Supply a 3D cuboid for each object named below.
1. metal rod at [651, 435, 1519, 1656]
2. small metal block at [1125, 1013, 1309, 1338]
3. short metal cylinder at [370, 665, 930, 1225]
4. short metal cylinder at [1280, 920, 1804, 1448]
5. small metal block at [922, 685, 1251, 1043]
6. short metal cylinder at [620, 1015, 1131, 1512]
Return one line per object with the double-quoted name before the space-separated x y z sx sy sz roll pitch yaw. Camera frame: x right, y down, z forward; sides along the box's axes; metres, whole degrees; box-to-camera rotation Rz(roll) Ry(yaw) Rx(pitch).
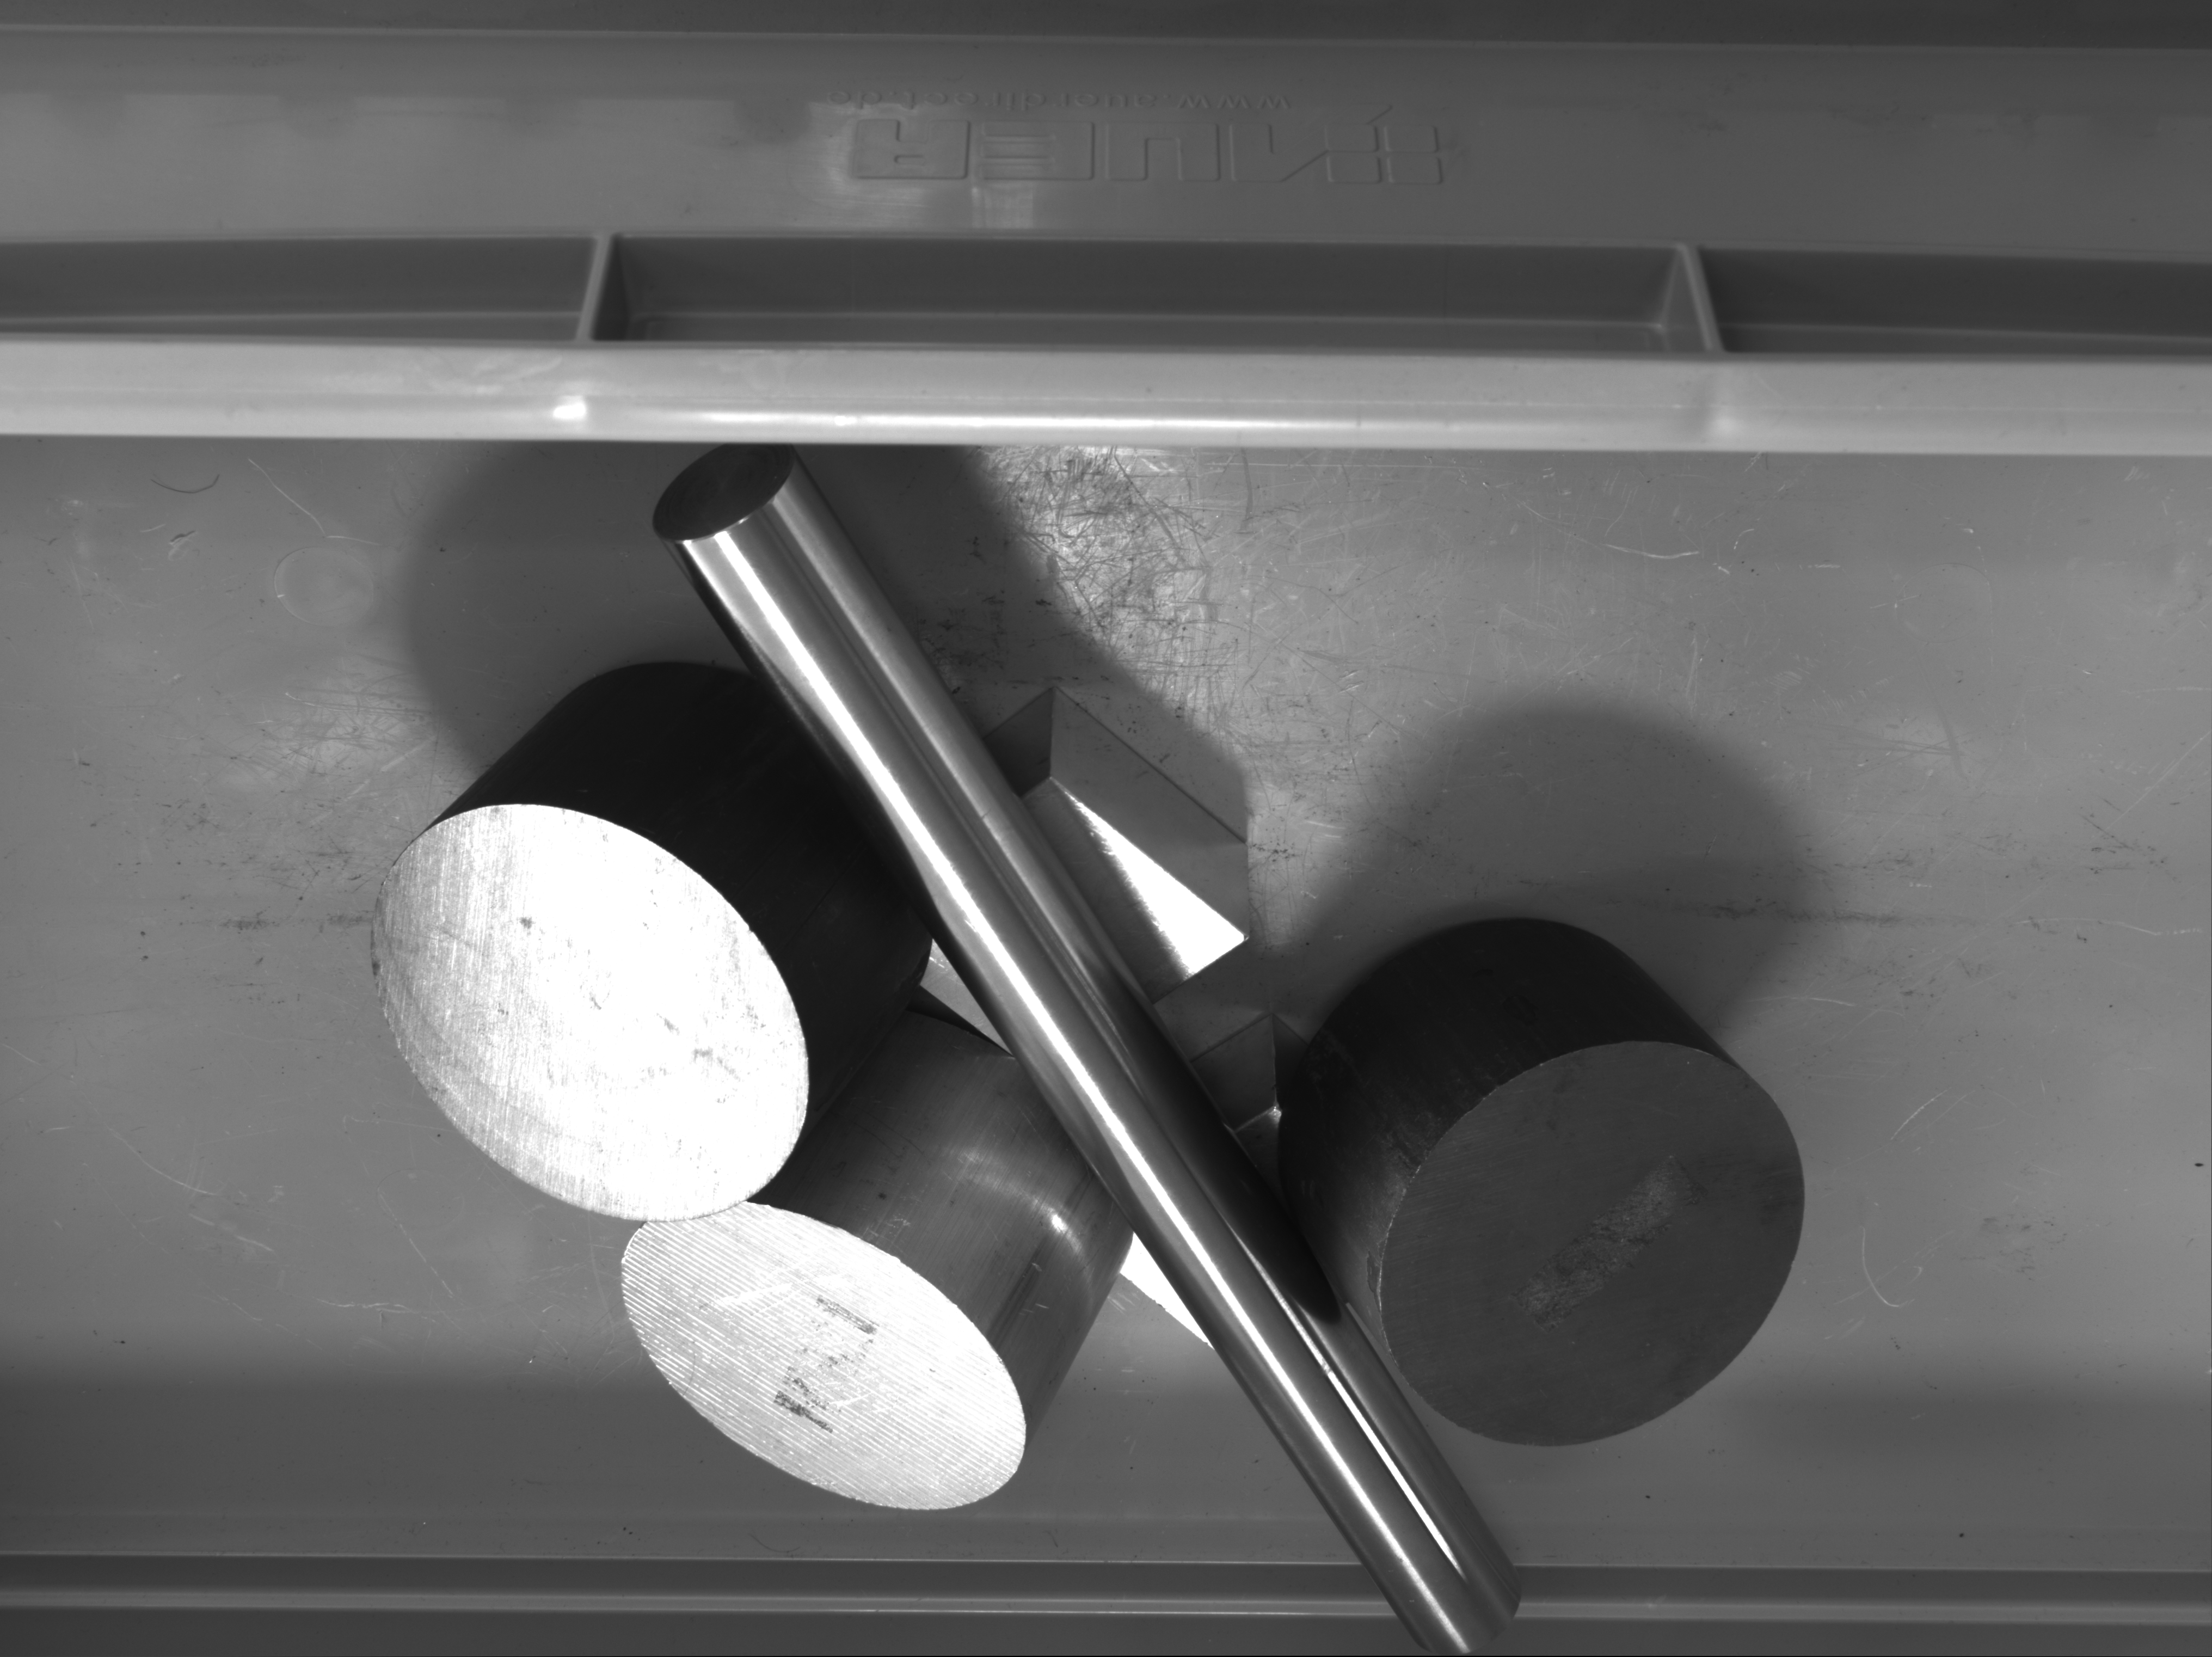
"metal rod" 0.006 0.052 0.649 0.025 0.025 0.301 -20 127 16
"small metal block" 0.028 0.069 0.696 0.050 0.025 0.050 -33 123 25
"short metal cylinder" -0.076 0.019 0.620 0.080 0.050 0.080 11 123 18
"short metal cylinder" 0.077 0.063 0.658 0.080 0.050 0.080 -8 116 -16
"small metal block" -0.010 0.010 0.647 0.050 0.025 0.050 -36 121 26
"short metal cylinder" -0.041 0.079 0.670 0.080 0.050 0.080 16 136 16
